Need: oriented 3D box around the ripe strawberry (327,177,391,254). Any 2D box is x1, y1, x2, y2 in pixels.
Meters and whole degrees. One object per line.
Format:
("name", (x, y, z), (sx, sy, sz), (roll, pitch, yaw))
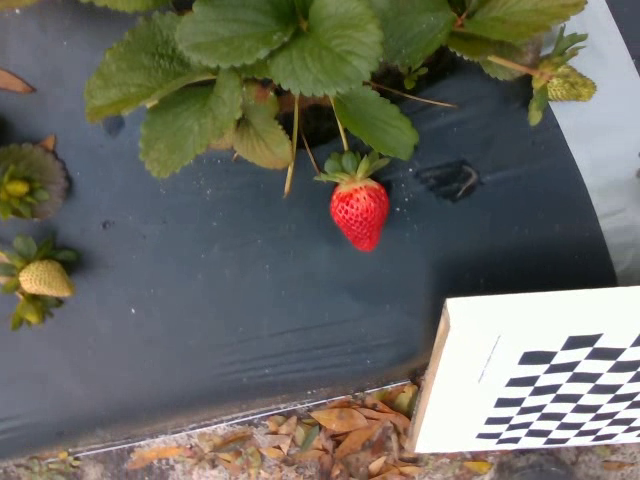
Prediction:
("ripe strawberry", (0.022, -0.013, 0.331), (0.036, 0.046, 0.040), (-1, 13, 20))
